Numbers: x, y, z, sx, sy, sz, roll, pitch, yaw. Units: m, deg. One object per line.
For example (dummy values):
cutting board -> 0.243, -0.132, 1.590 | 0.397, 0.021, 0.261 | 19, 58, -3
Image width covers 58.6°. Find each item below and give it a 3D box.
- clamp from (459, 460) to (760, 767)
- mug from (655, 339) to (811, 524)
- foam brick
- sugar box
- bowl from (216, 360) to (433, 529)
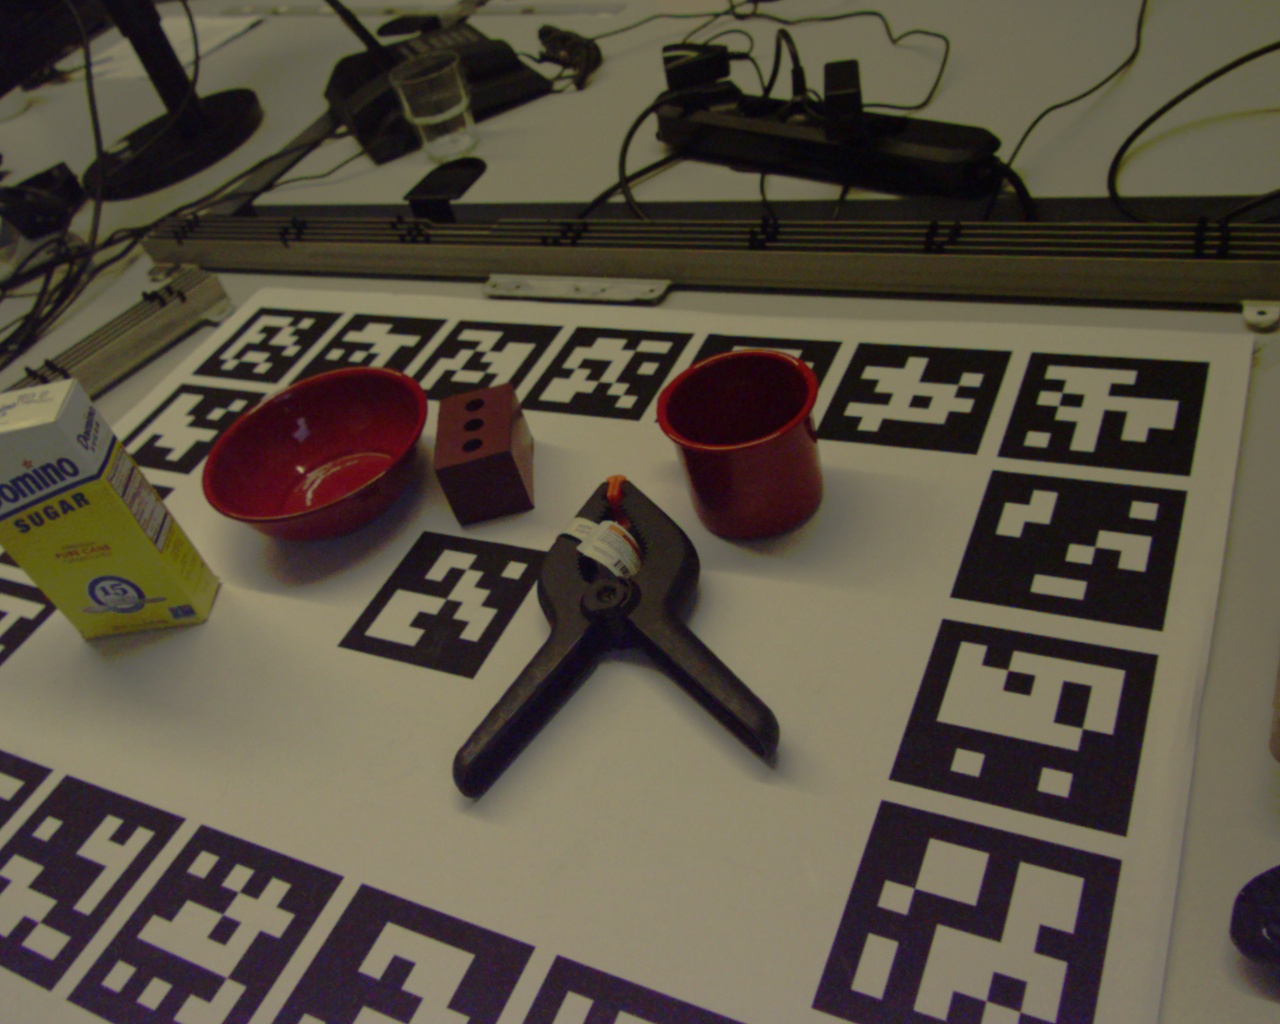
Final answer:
clamp -> -0.019, 0.048, 0.666 | 0.166, 0.036, 0.203 | -12, 44, 12
mug -> 0.055, -0.052, 0.714 | 0.093, 0.081, 0.119 | -39, 49, -20
foam brick -> -0.102, -0.039, 0.792 | 0.053, 0.051, 0.078 | -14, 44, 8
sugar box -> -0.349, 0.005, 0.739 | 0.093, 0.175, 0.045 | -10, 45, 8
bowl -> -0.218, -0.039, 0.824 | 0.162, 0.055, 0.162 | -10, 44, 9
